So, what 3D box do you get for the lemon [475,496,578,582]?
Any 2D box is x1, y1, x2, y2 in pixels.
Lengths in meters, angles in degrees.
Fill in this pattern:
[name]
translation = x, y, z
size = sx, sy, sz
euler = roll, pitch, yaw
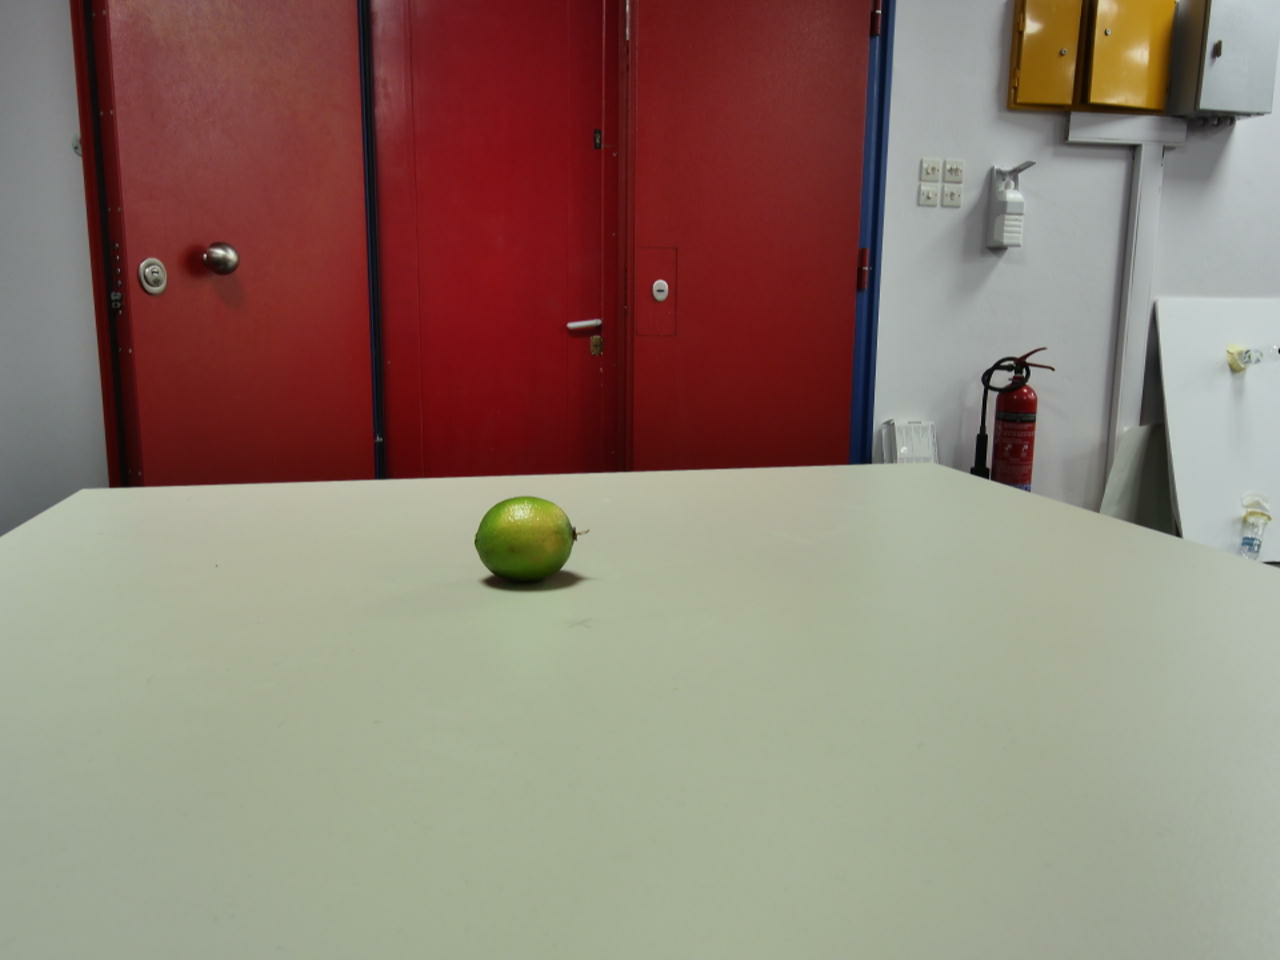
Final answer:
[lemon]
translation = -0.069, 0.035, 0.599
size = 0.055, 0.050, 0.054
euler = 5, 10, 37
